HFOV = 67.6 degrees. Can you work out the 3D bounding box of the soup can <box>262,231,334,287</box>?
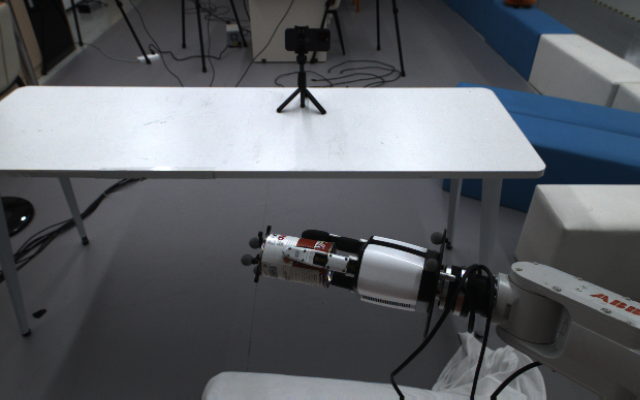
[{"bbox_3d":[-0.030,0.090,0.717,0.101,0.067,0.067,8,35,10],"label":"soup can"}]
